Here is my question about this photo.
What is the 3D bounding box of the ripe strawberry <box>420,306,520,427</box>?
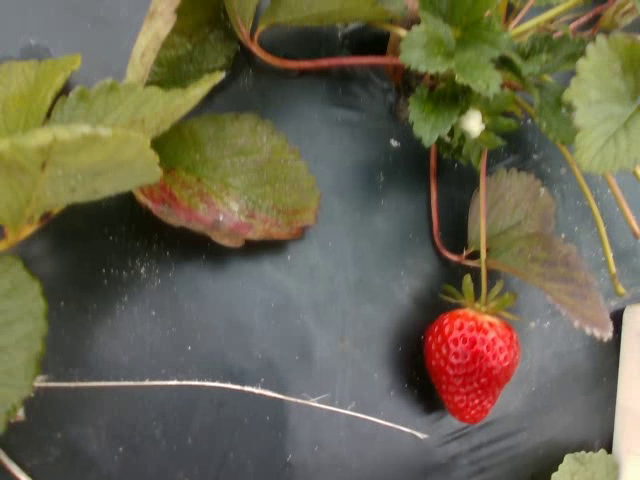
[{"bbox_3d":[0.040,0.033,0.171,0.028,0.033,0.022,15,-3,-21],"label":"ripe strawberry"}]
